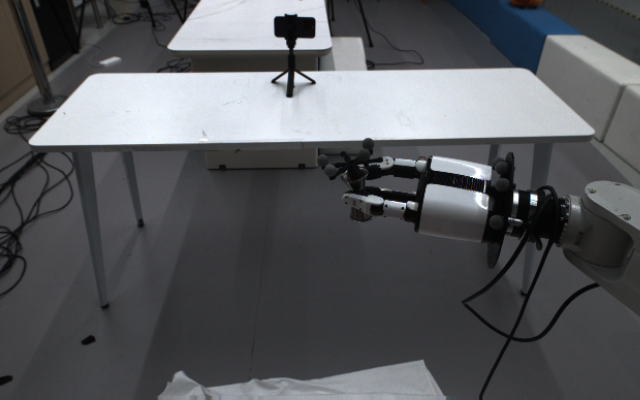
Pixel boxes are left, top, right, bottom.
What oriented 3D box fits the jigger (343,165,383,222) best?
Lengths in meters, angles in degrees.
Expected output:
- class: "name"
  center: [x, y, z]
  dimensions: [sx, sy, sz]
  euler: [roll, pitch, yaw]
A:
- class: "jigger"
  center: [0.057, -0.008, 0.698]
  dimensions: [0.043, 0.071, 0.043]
  euler: [-12, 29, 7]
